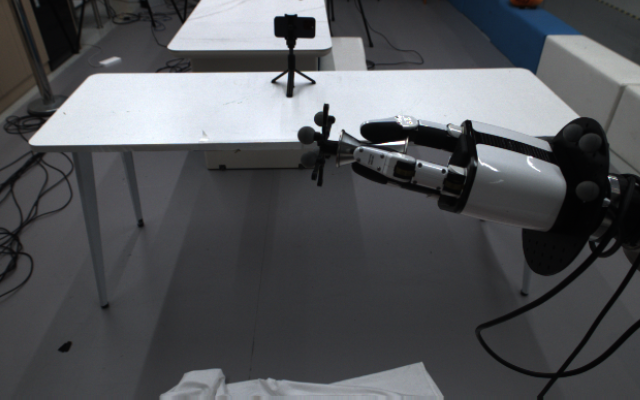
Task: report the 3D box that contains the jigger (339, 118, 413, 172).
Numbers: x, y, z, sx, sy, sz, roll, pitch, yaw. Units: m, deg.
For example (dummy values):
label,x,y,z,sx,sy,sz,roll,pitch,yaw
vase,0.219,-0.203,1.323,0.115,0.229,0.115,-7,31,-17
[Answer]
label,x,y,z,sx,sy,sz,roll,pitch,yaw
jigger,0.059,-0.055,0.499,0.071,0.043,0.043,7,35,8
